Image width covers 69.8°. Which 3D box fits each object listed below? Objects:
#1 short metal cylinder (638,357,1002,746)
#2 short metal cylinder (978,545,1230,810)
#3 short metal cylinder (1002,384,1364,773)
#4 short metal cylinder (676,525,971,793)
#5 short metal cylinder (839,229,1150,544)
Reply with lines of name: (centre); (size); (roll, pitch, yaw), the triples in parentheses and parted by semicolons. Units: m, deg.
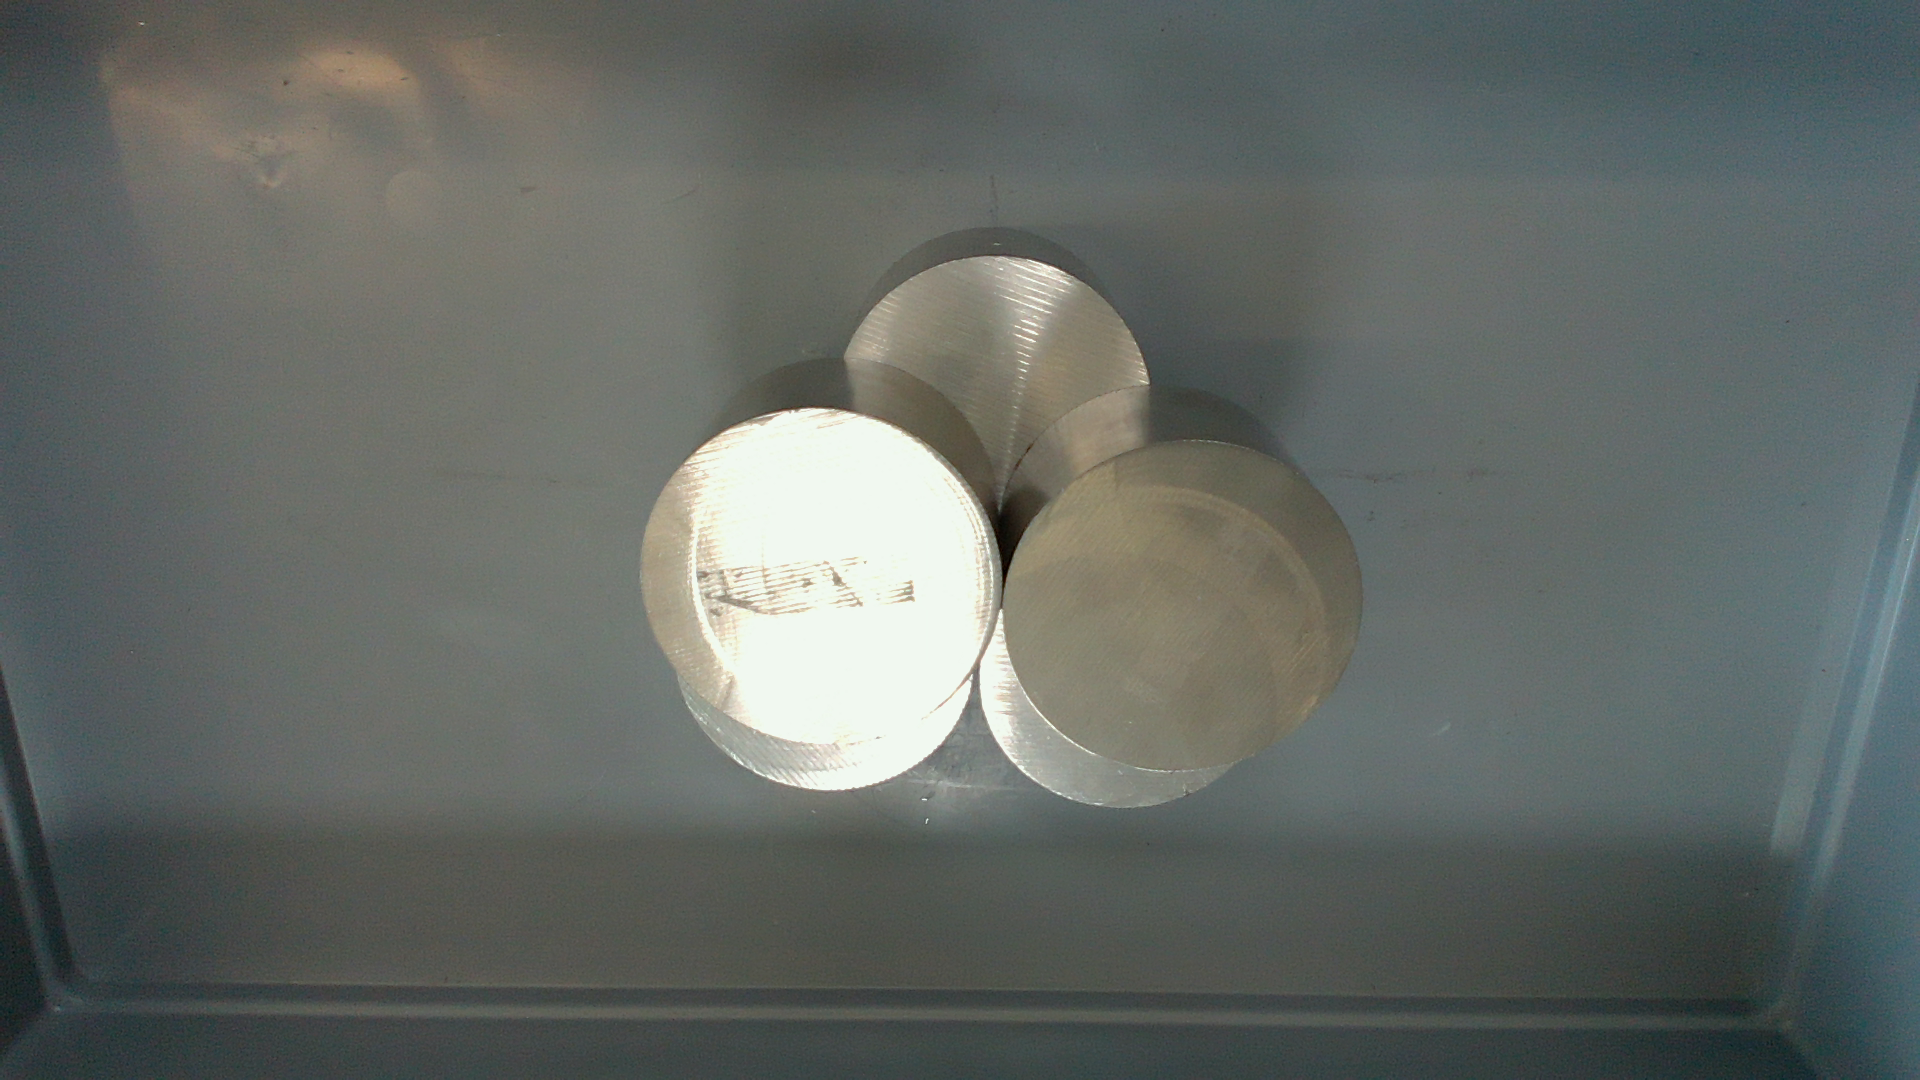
short metal cylinder: (-0.031, 0.001, 0.326); (0.080, 0.050, 0.080); (0, 110, 0)
short metal cylinder: (0.045, 0.028, 0.390); (0.080, 0.050, 0.080); (0, 110, 0)
short metal cylinder: (0.049, 0.008, 0.328); (0.080, 0.050, 0.080); (0, 110, 0)
short metal cylinder: (-0.037, 0.023, 0.387); (0.080, 0.050, 0.080); (0, 110, 0)
short metal cylinder: (0.008, -0.040, 0.365); (0.080, 0.050, 0.080); (0, 110, 0)
